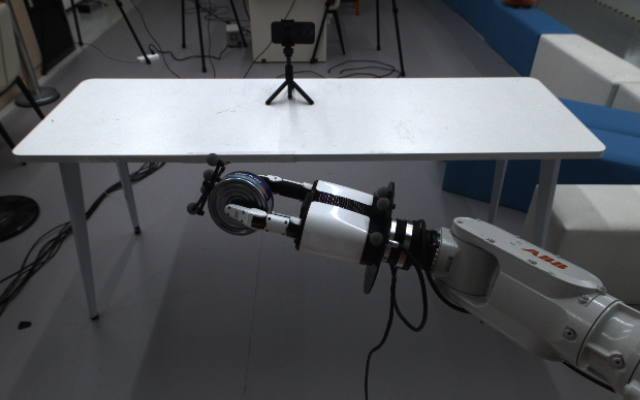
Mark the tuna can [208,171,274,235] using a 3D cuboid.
[{"bbox_3d":[-0.108,0.004,0.667,0.085,0.085,0.034,6,20,5],"label":"tuna can"}]
